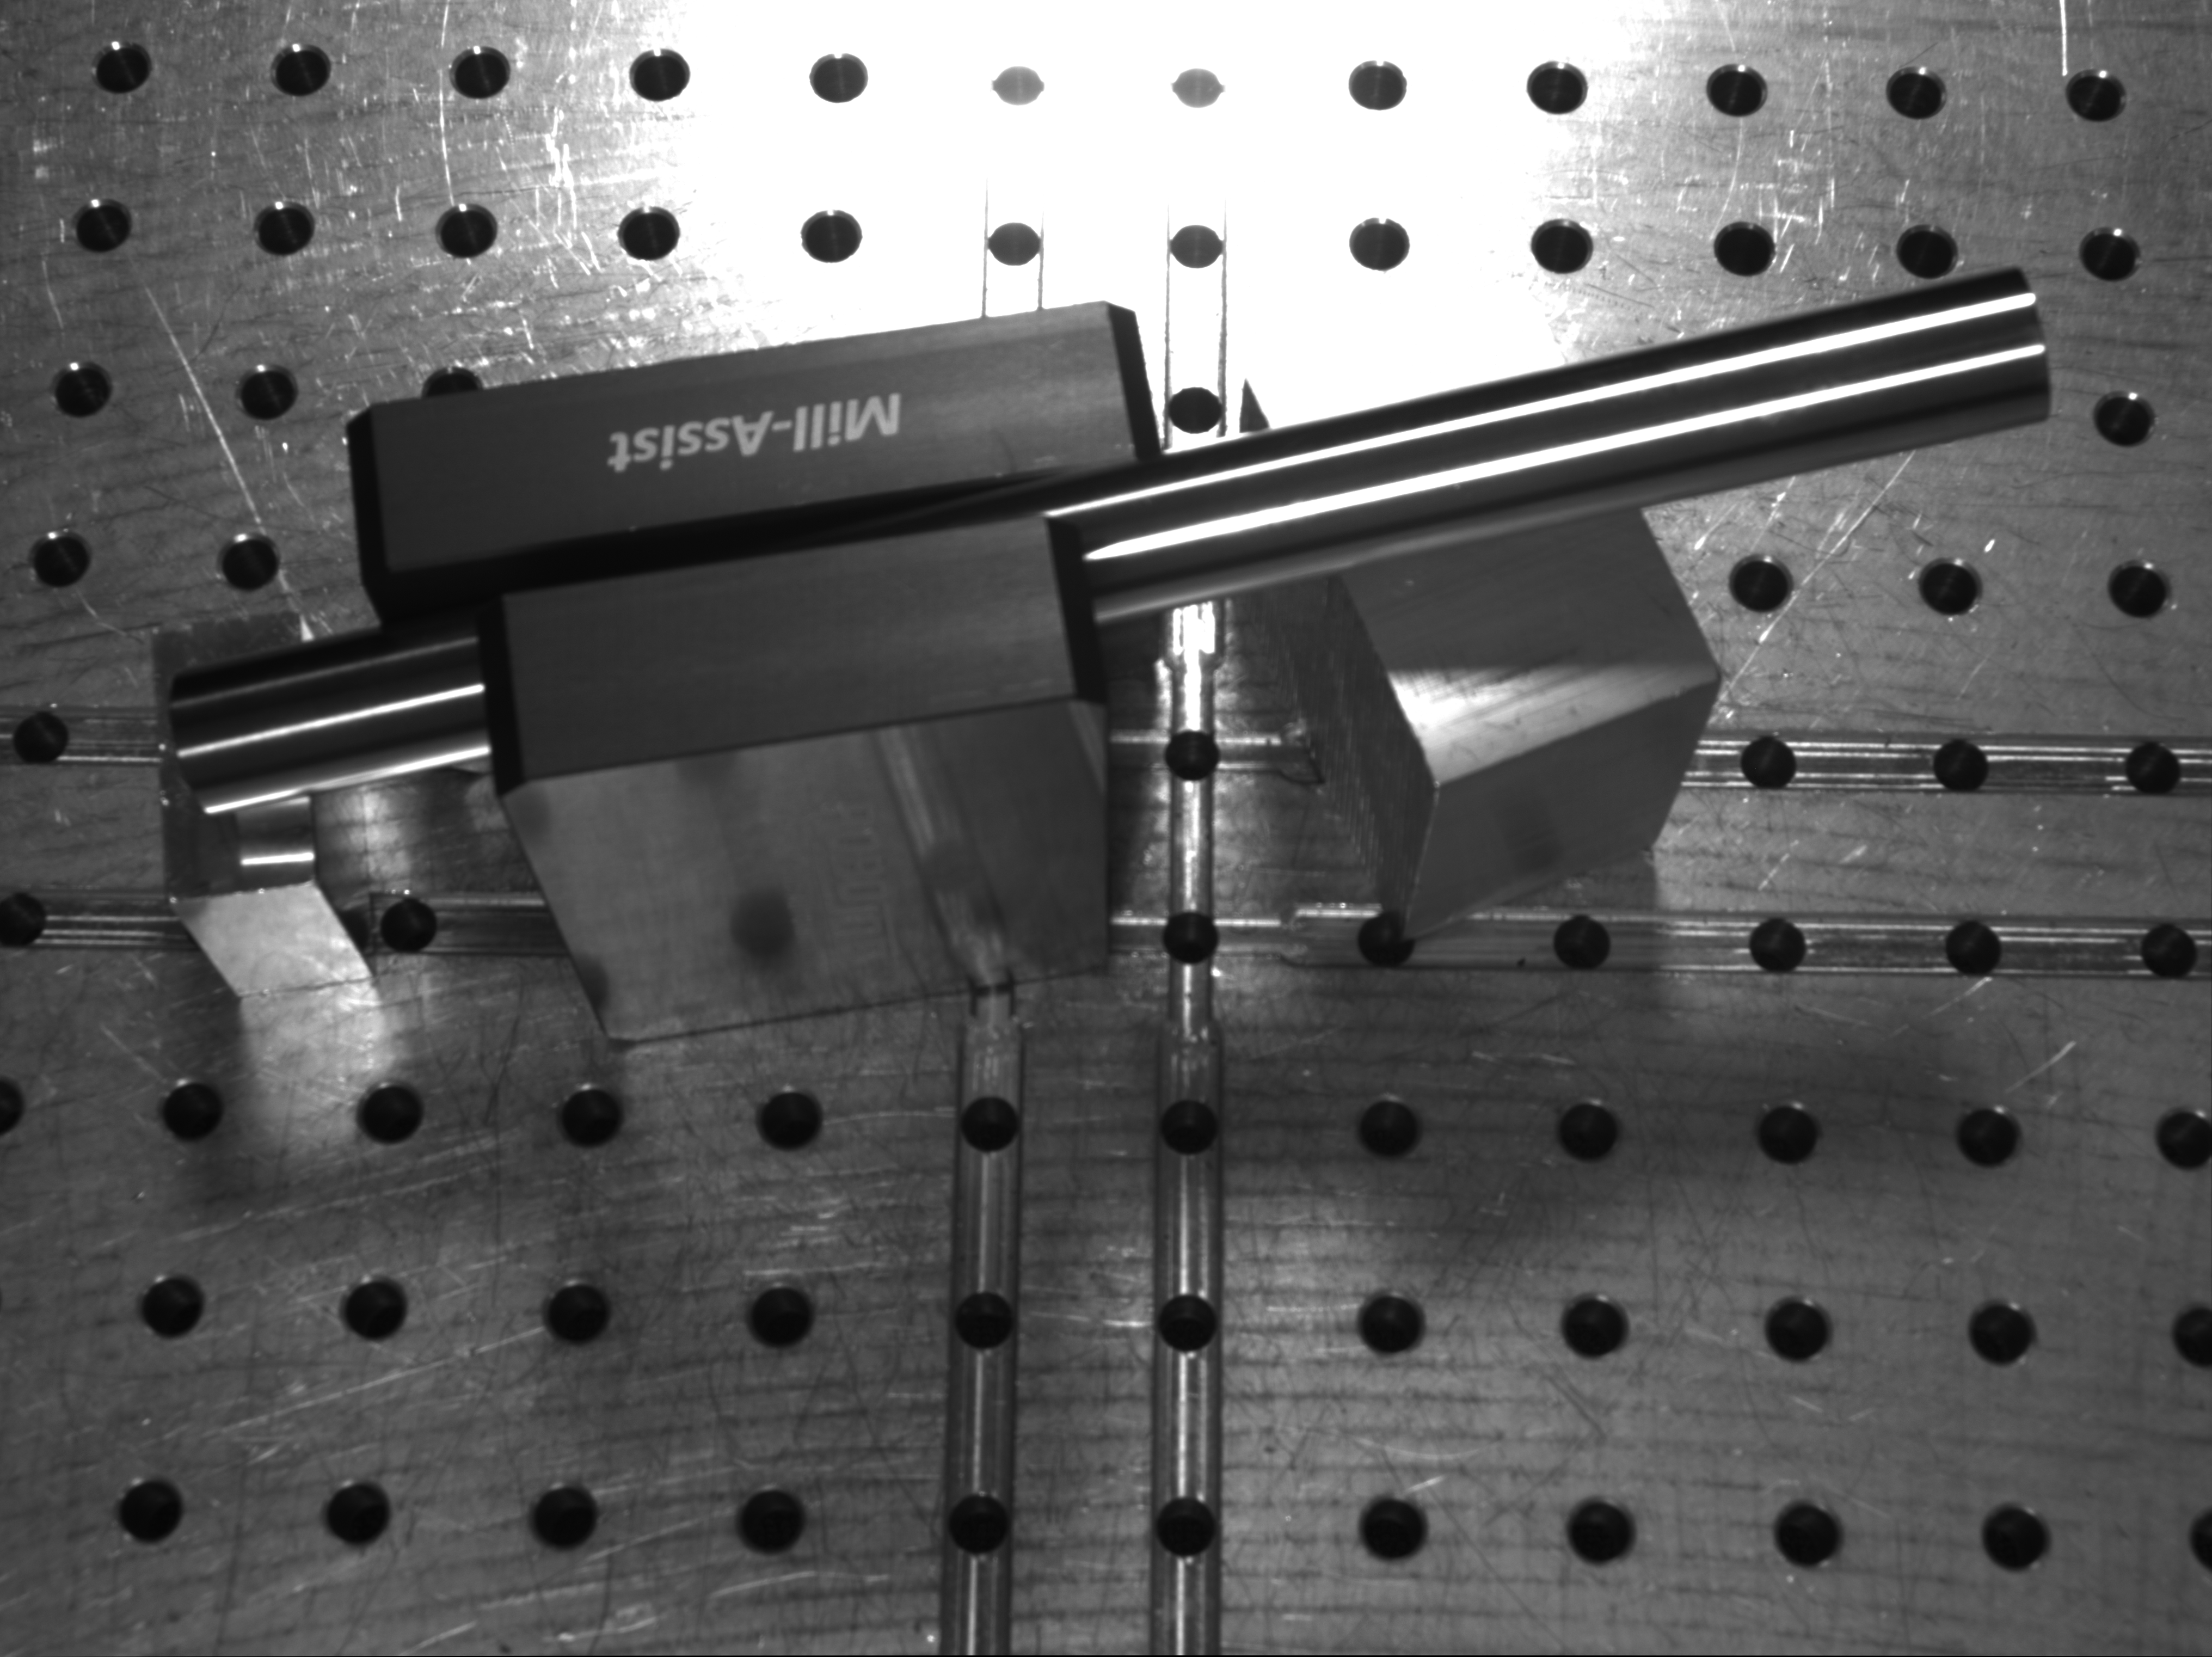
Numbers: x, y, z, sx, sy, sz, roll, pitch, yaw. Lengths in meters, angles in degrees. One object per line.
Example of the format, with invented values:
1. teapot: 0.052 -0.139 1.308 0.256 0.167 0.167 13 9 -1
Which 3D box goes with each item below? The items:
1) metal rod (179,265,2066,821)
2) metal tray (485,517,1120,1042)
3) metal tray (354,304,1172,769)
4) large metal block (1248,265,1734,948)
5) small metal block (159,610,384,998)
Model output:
1. metal rod: 0.000 -0.044 0.583 0.300 0.025 0.025 -12 70 6
2. metal tray: -0.045 -0.004 0.593 0.090 0.130 0.030 -9 70 -3
3. metal tray: -0.055 -0.048 0.629 0.130 0.090 0.030 -8 71 -3
4. large metal block: 0.062 -0.036 0.630 0.050 0.080 0.080 -21 71 -7
5. small metal block: -0.144 -0.003 0.635 0.025 0.050 0.050 -8 70 -3
